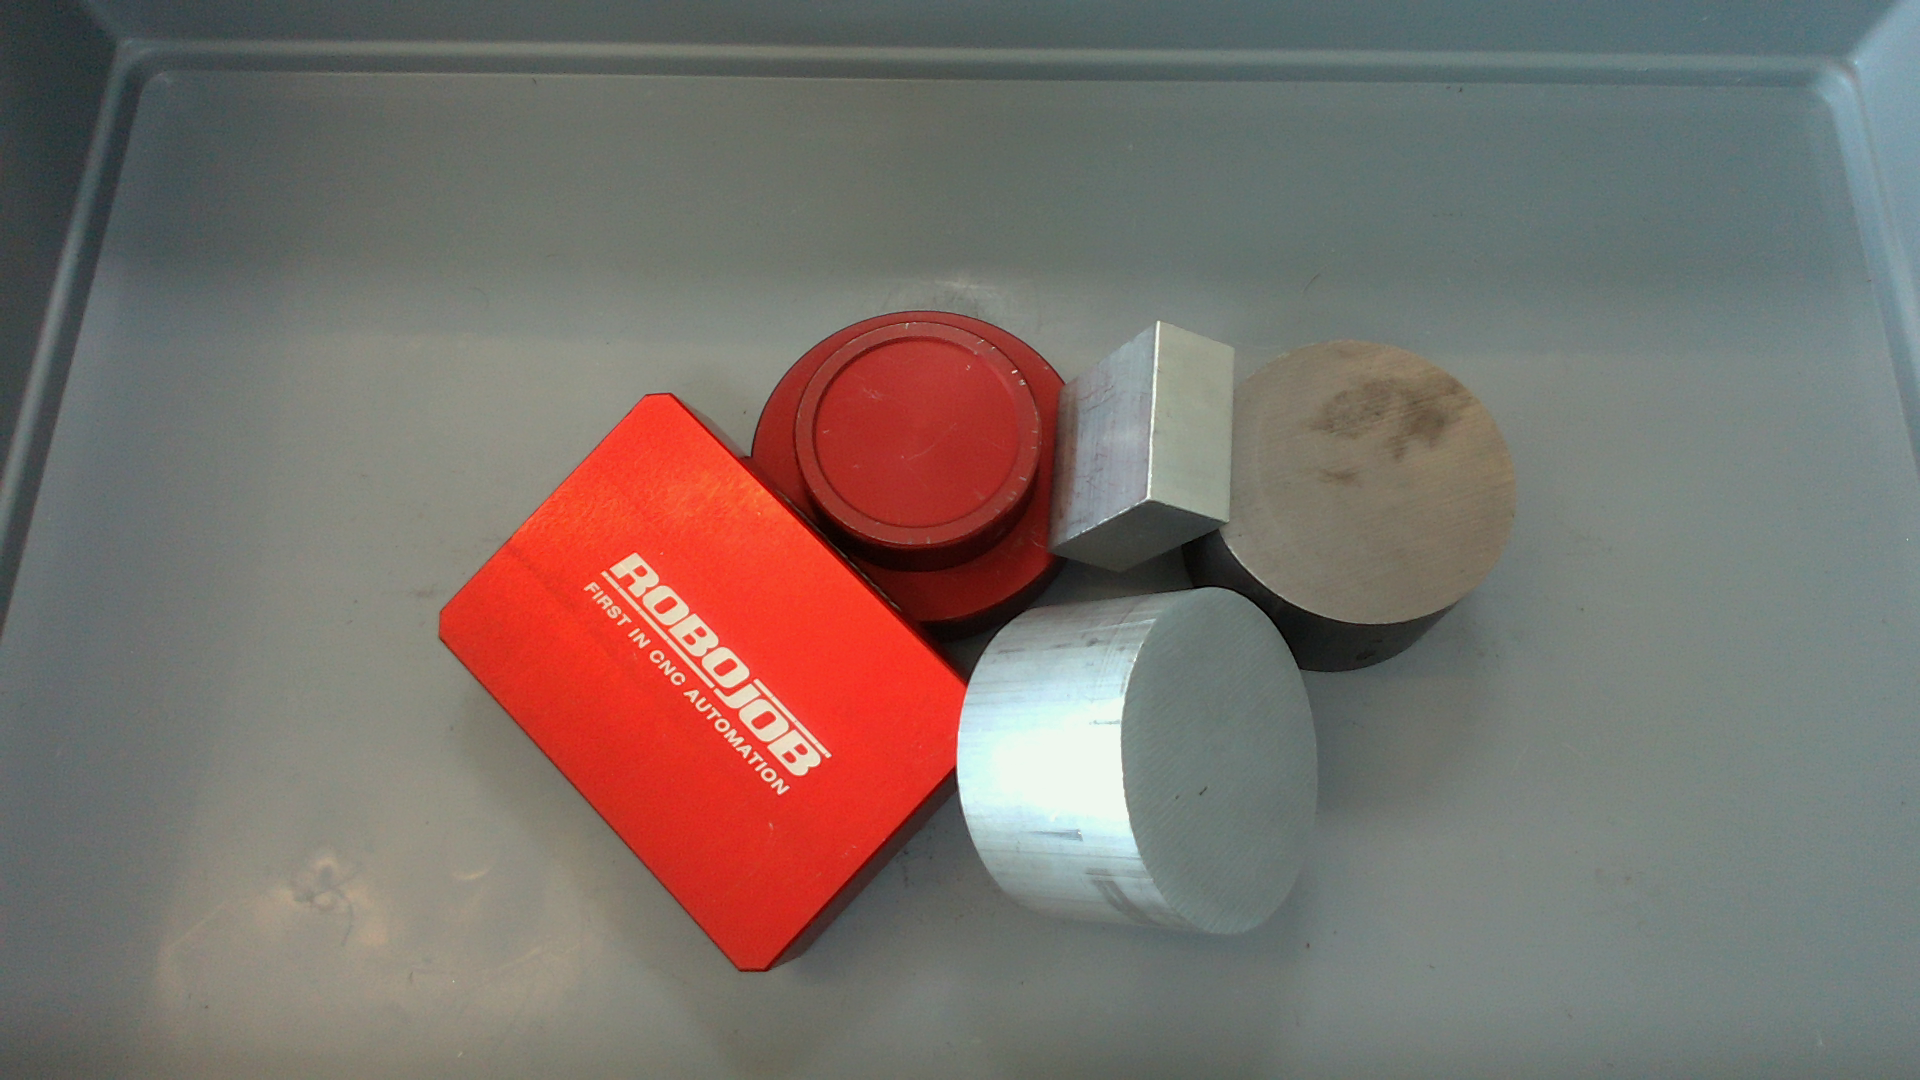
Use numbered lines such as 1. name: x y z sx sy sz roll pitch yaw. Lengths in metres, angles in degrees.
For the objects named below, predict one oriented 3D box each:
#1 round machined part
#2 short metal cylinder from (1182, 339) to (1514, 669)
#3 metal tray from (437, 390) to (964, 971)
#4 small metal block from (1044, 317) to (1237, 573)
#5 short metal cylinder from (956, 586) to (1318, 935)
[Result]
1. round machined part: -0.012 -0.024 0.392 0.098 0.042 0.098 0 70 0
2. short metal cylinder: 0.105 -0.009 0.384 0.080 0.050 0.080 0 70 0
3. metal tray: -0.064 0.035 0.365 0.130 0.030 0.090 44 91 14
4. small metal block: 0.048 -0.024 0.369 0.025 0.050 0.050 15 67 -24
5. short metal cylinder: 0.045 0.054 0.338 0.050 0.080 0.080 -10 62 43
